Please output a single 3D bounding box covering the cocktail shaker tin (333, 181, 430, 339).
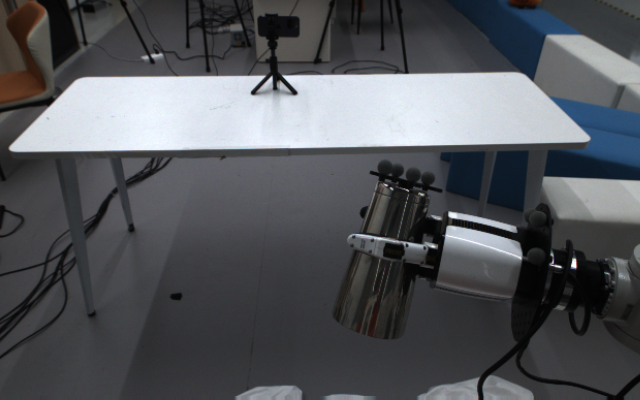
[{"bbox_3d":[0.081,0.068,0.585,0.093,0.170,0.093,14,6,-2],"label":"cocktail shaker tin"}]
